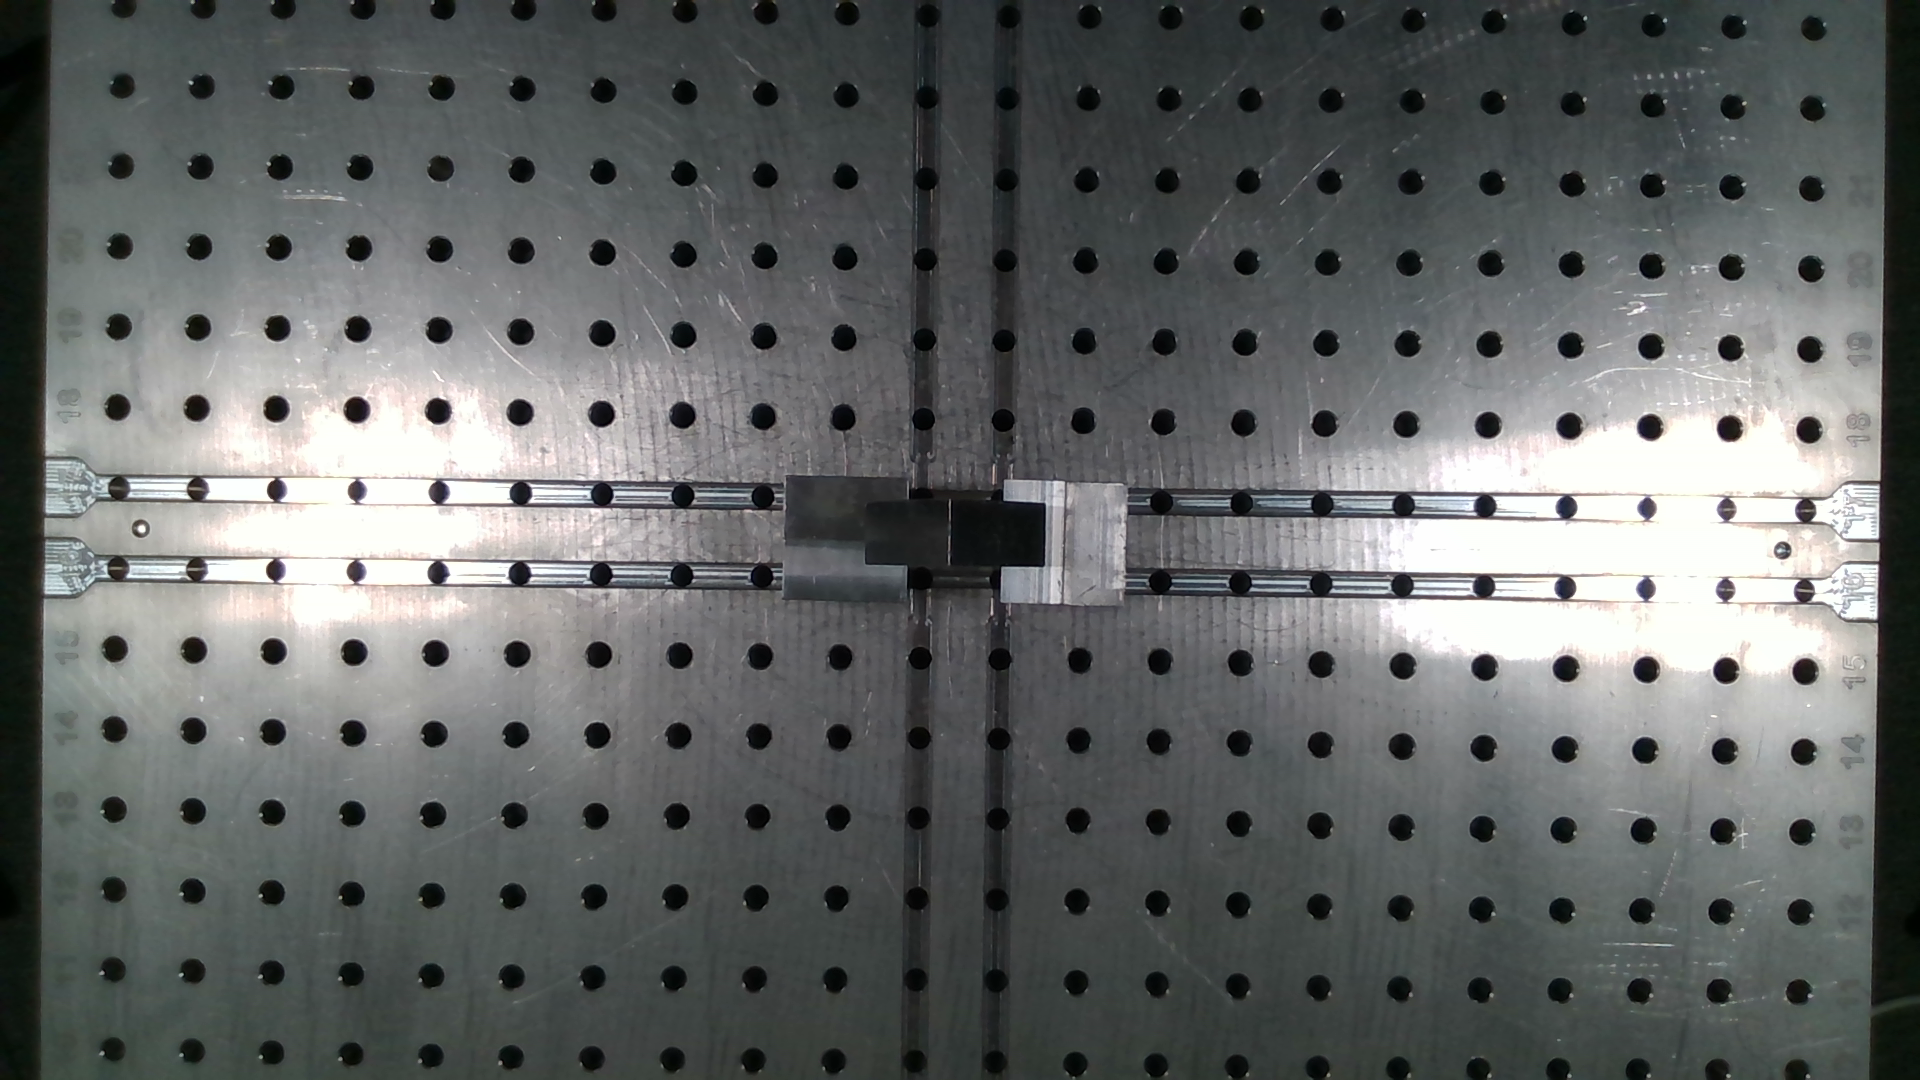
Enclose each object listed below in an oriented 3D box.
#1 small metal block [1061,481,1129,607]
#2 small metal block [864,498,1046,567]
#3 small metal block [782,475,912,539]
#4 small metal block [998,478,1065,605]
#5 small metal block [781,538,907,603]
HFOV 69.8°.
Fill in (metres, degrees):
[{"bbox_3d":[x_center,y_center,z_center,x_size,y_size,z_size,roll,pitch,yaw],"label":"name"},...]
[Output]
[{"bbox_3d":[0.054,0.002,0.576,0.025,0.050,0.050,2,90,0],"label":"small metal block"},{"bbox_3d":[-0.002,-0.002,0.535,0.050,0.050,0.025,1,89,-43],"label":"small metal block"},{"bbox_3d":[-0.046,-0.013,0.576,0.050,0.050,0.025,1,90,0],"label":"small metal block"},{"bbox_3d":[0.029,0.001,0.576,0.025,0.050,0.050,2,90,0],"label":"small metal block"},{"bbox_3d":[-0.046,0.012,0.576,0.050,0.050,0.025,1,90,0],"label":"small metal block"}]
